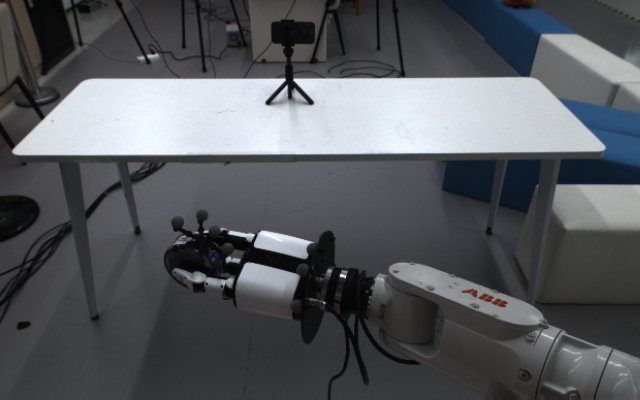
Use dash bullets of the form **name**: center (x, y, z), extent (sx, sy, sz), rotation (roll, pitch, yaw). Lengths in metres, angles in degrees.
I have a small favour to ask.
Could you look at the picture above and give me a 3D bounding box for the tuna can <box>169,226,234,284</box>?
- **tuna can**: center (-0.183, 0.093, 0.711), extent (0.085, 0.085, 0.034), rotation (11, 35, 13)
